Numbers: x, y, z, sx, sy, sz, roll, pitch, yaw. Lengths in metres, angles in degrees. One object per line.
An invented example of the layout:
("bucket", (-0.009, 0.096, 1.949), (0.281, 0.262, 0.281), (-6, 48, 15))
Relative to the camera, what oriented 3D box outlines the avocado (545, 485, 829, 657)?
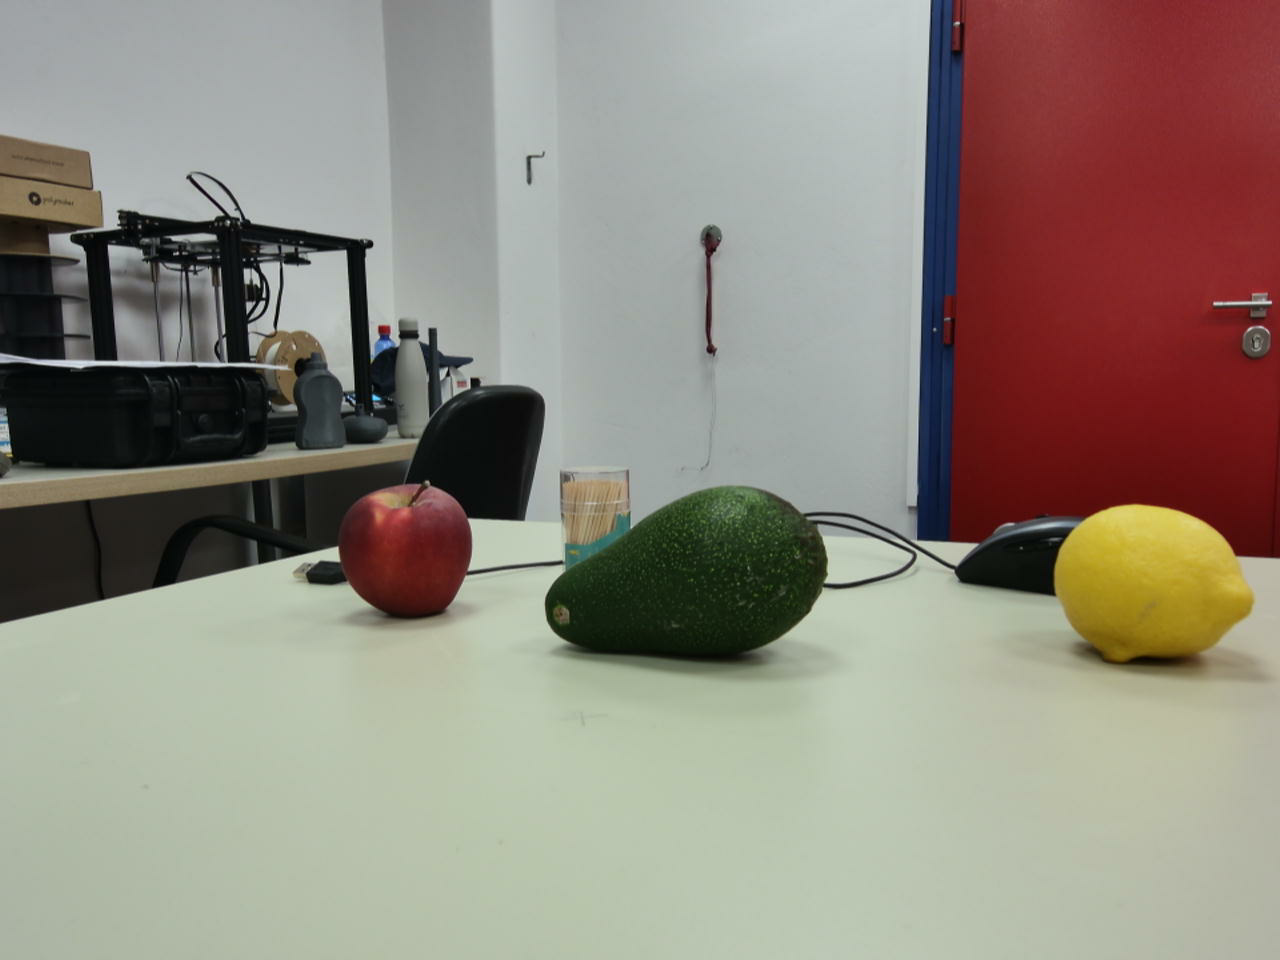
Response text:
("avocado", (0.024, 0.040, 0.450), (0.123, 0.076, 0.074), (2, 4, 31))
